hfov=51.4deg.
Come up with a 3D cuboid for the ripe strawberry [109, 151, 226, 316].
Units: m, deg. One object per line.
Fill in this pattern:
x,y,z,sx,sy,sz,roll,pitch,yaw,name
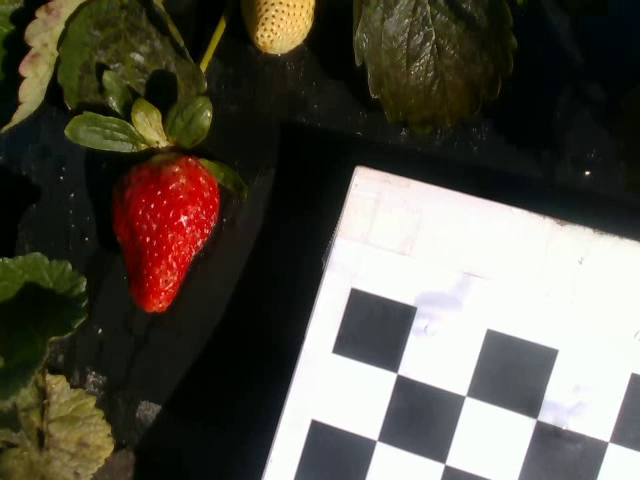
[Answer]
-0.059,-0.002,0.242,0.048,0.069,0.040,-2,-7,10,ripe strawberry
